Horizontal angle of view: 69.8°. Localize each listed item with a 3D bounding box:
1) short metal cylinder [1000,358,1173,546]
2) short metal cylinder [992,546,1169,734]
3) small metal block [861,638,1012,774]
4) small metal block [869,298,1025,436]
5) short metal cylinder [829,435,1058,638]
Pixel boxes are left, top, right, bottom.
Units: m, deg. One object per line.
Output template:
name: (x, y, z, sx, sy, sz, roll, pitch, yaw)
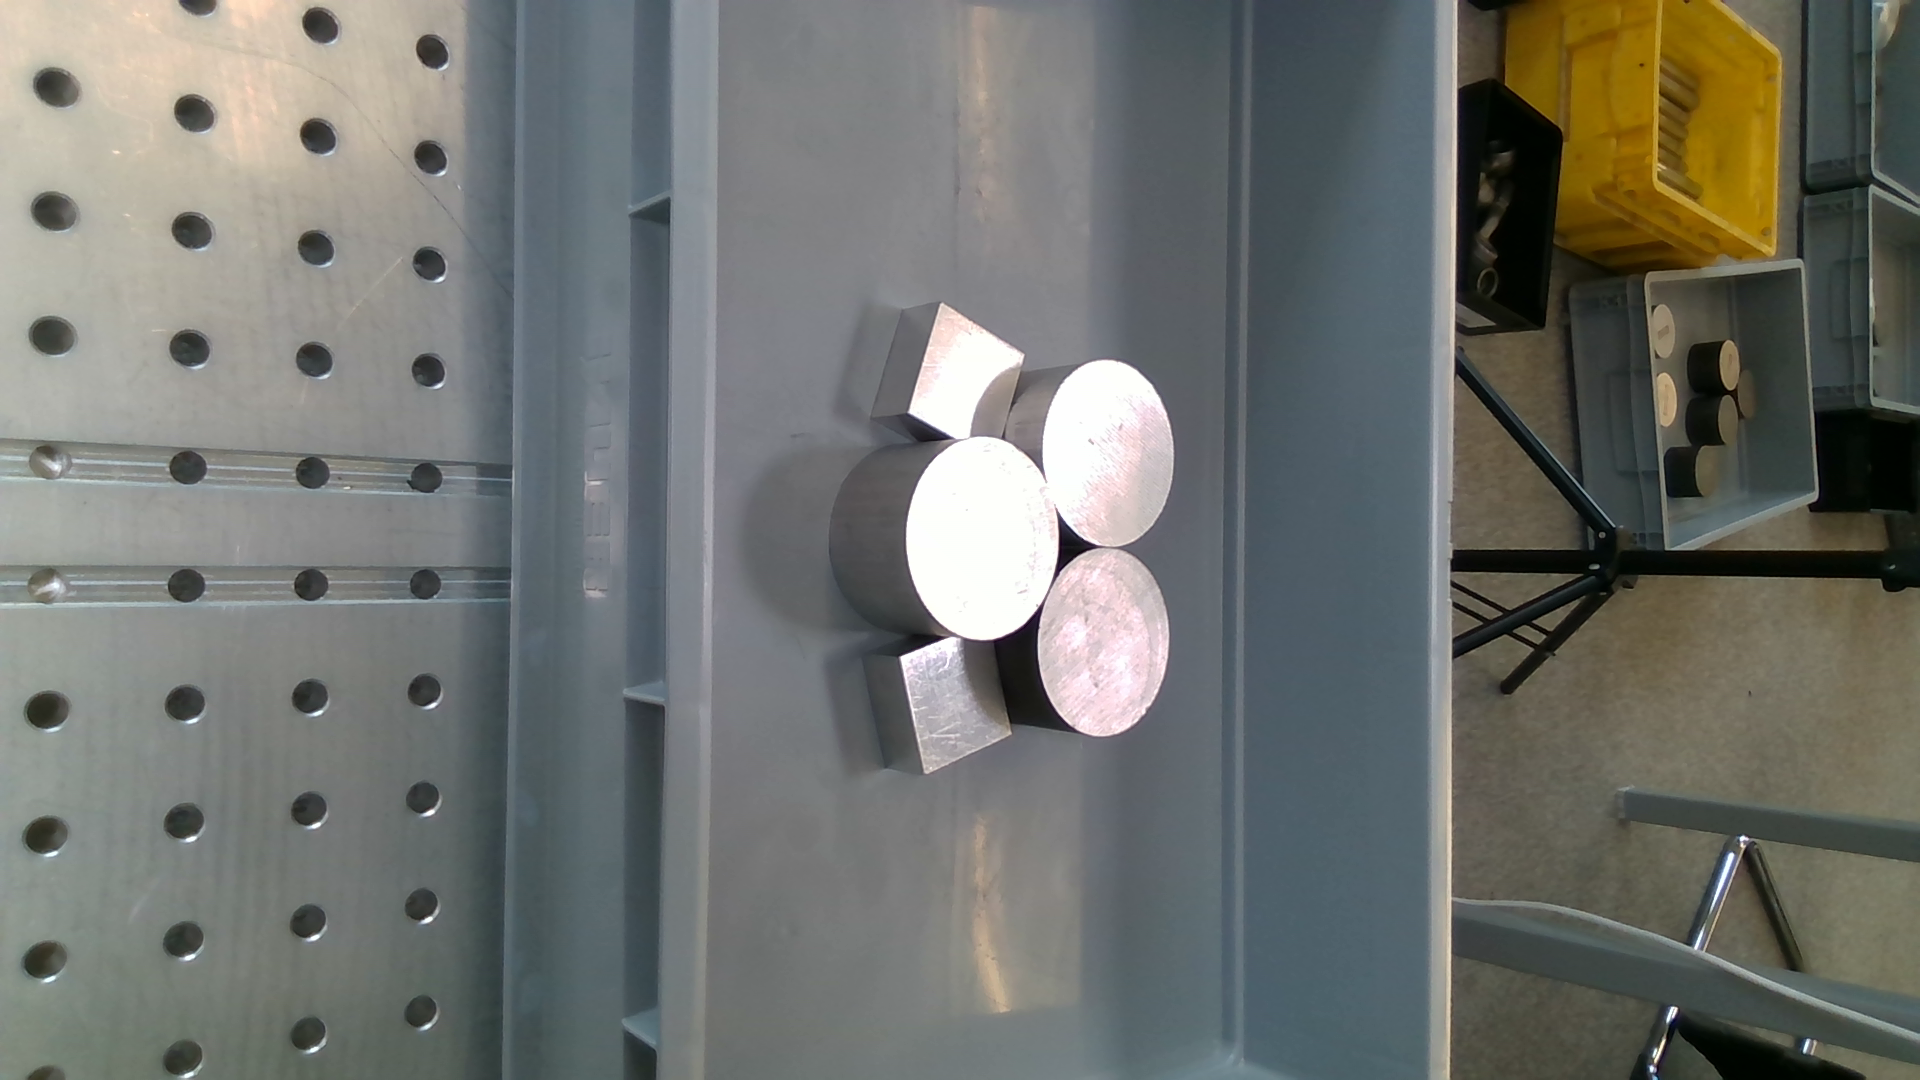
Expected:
short metal cylinder: (0.048, -0.037, 0.607, 0.080, 0.050, 0.080, 0, 90, -40)
short metal cylinder: (0.046, 0.043, 0.605, 0.080, 0.050, 0.080, 0, 90, -40)
small metal block: (-0.009, 0.064, 0.575, 0.050, 0.025, 0.050, -18, 102, -39)
small metal block: (-0.005, -0.066, 0.578, 0.050, 0.025, 0.050, 26, 73, -37)
short metal cylinder: (-0.006, -0.001, 0.561, 0.080, 0.050, 0.080, 0, 90, -40)
